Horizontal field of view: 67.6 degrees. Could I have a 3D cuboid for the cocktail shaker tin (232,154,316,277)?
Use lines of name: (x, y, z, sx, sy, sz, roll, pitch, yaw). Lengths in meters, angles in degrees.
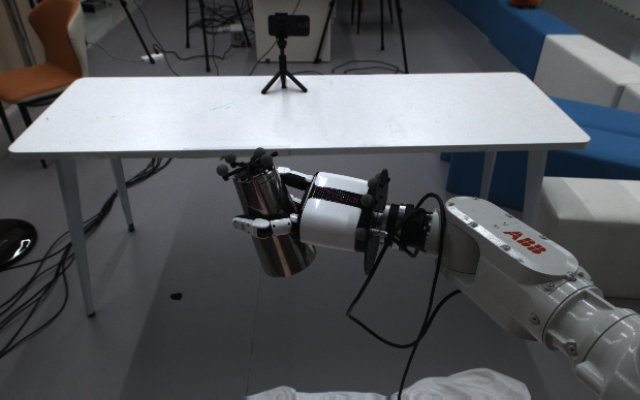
cocktail shaker tin: (-0.074, 0.026, 0.751, 0.093, 0.170, 0.093, -15, 29, 9)
